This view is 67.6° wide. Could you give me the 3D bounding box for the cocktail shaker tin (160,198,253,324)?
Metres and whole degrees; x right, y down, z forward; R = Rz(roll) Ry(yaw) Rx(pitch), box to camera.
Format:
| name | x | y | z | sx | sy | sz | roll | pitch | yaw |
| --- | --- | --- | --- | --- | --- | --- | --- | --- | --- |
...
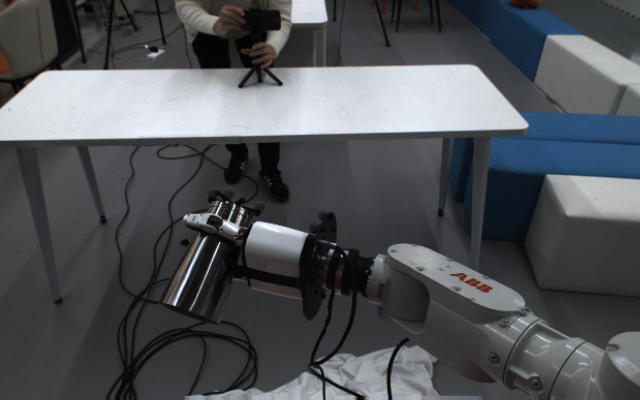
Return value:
| name | x | y | z | sx | sy | sz | roll | pitch | yaw |
| --- | --- | --- | --- | --- | --- | --- | --- | --- | --- |
| cocktail shaker tin | -0.162 | 0.087 | 0.725 | 0.093 | 0.093 | 0.170 | 13 | 66 | 15 |
